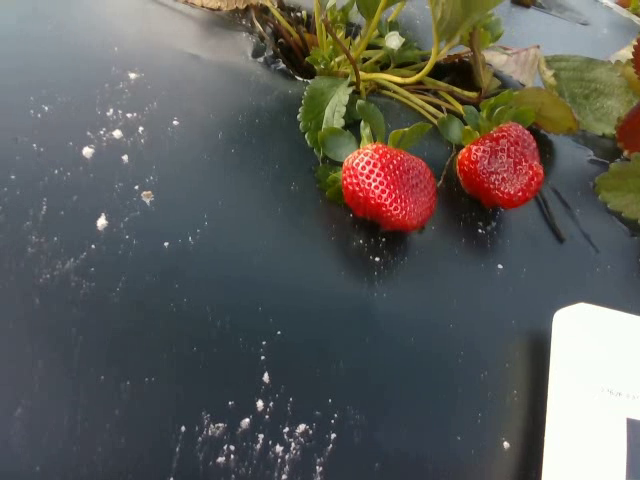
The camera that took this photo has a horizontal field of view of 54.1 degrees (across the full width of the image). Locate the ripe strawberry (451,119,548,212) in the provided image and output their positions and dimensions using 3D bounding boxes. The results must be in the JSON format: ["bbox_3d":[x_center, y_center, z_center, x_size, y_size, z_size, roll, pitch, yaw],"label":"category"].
[{"bbox_3d":[0.093,-0.039,0.311,0.042,0.034,0.053,-3,40,-10],"label":"ripe strawberry"}]

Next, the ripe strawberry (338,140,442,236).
[{"bbox_3d":[0.034,-0.023,0.285,0.050,0.045,0.061,2,35,-8],"label":"ripe strawberry"}]
